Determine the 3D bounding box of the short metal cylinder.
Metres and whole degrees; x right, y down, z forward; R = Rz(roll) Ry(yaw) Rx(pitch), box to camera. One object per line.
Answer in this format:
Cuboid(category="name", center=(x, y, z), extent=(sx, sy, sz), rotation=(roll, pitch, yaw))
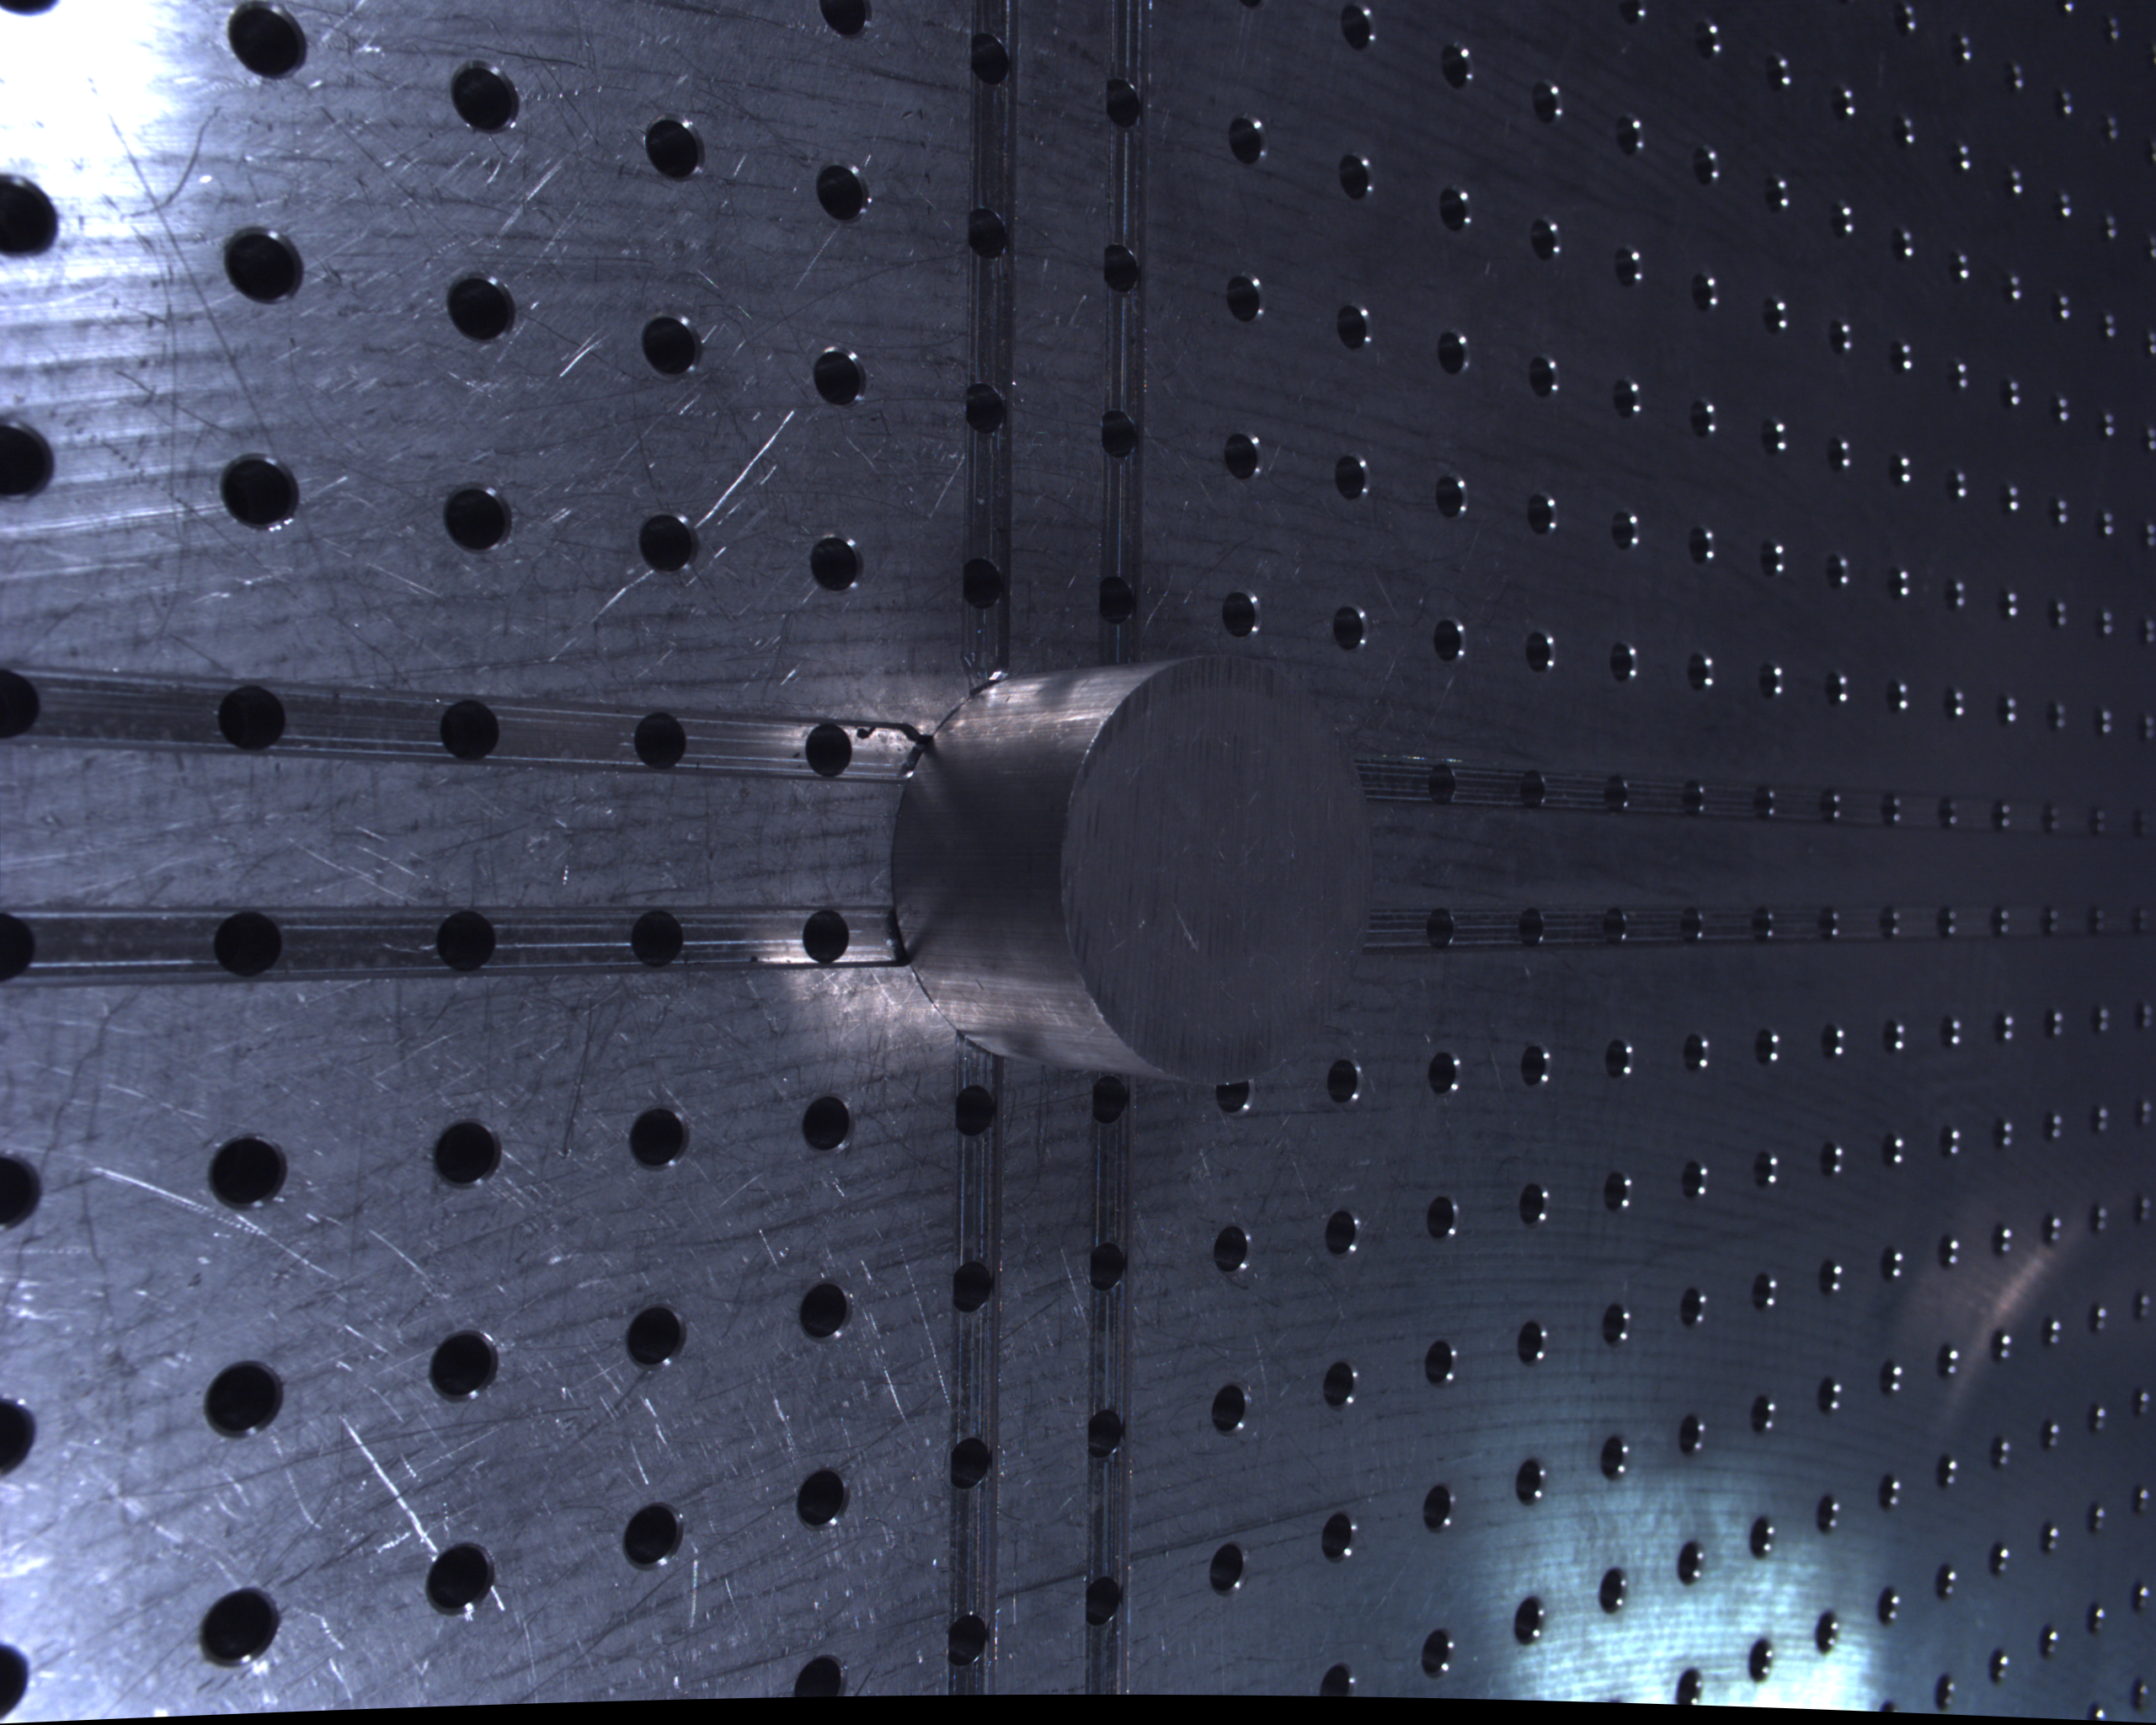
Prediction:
Cuboid(category="short metal cylinder", center=(0.012, 0.001, 0.404), extent=(0.081, 0.050, 0.079), rotation=(0, 90, -40))
